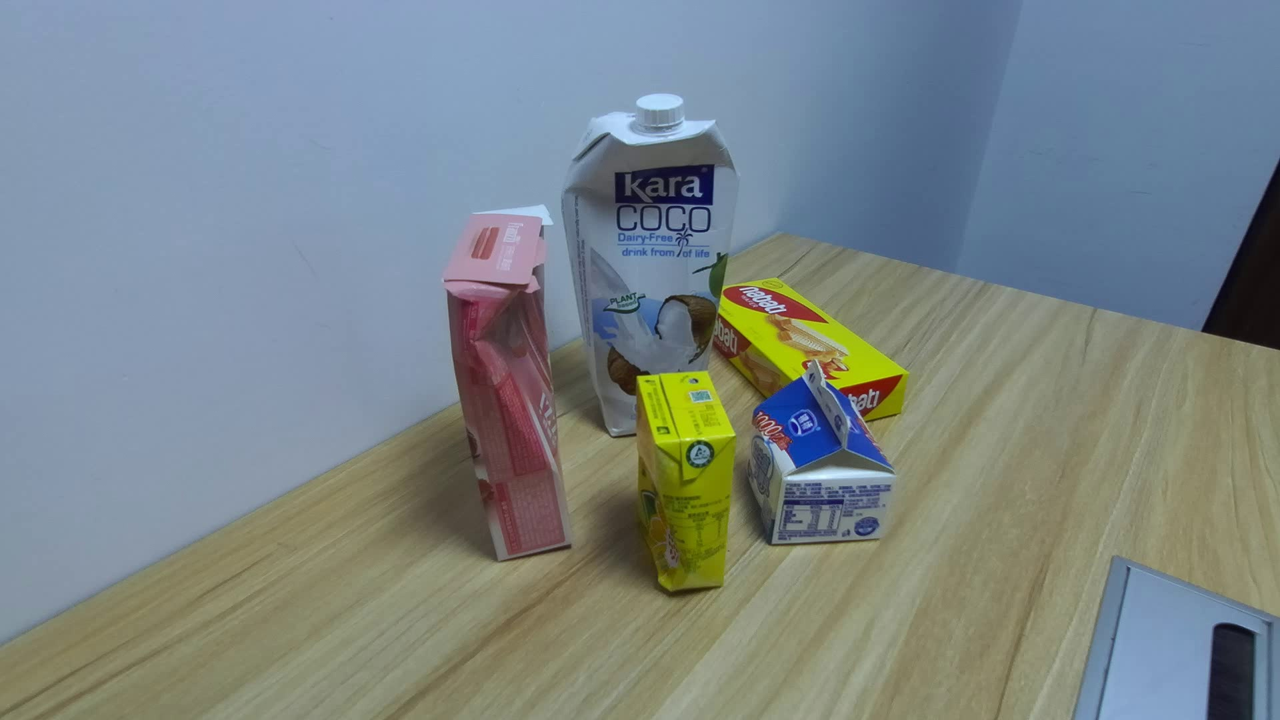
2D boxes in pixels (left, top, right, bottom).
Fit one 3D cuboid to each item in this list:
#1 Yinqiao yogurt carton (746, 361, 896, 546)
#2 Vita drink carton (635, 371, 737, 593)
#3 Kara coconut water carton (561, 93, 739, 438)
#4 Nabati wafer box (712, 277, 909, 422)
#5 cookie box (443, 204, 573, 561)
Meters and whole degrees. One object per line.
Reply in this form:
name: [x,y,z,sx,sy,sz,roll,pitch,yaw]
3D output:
Yinqiao yogurt carton: [0.112,0.055,0.438,0.074,0.092,0.075,-2,31,-4]
Vita drink carton: [0.024,0.070,0.395,0.043,0.109,0.076,-4,30,-6]
Kara coconut water carton: [0.006,-0.061,0.496,0.115,0.239,0.069,-4,32,-9]
Nabati wafer box: [0.130,-0.012,0.612,0.093,0.042,0.202,-10,32,-19]
cookie box: [-0.072,0.017,0.413,0.055,0.184,0.118,-3,30,-7]
